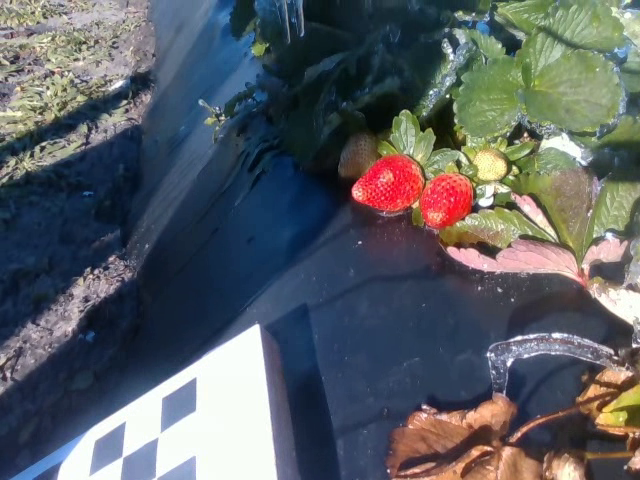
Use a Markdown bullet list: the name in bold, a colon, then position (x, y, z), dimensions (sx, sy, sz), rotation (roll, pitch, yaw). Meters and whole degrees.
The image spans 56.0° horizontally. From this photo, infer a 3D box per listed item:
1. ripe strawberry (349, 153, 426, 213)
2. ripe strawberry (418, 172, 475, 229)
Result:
- **ripe strawberry**: position (0.036, -0.031, 0.362), dimensions (0.051, 0.040, 0.036), rotation (-19, 20, -38)
- **ripe strawberry**: position (0.073, -0.021, 0.348), dimensions (0.036, 0.041, 0.030), rotation (-15, -52, 33)
